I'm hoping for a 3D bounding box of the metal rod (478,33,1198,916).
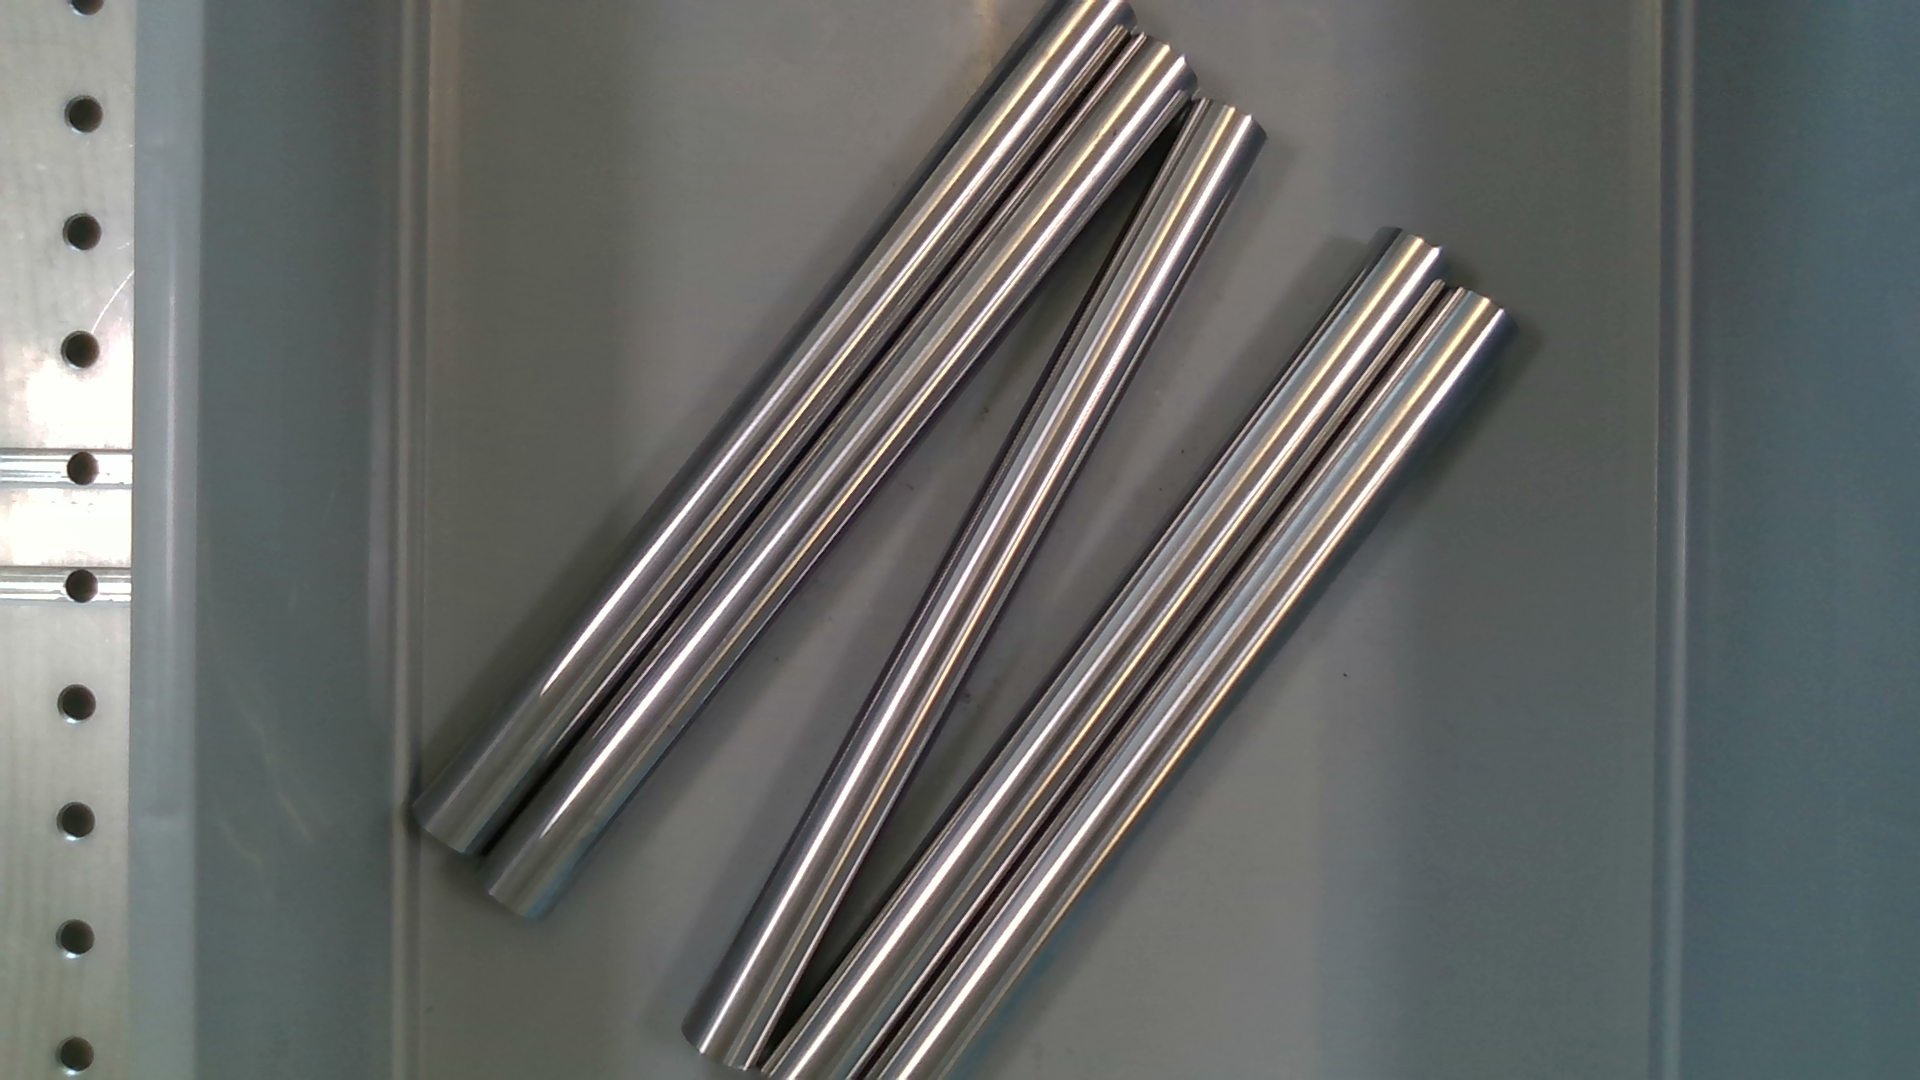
[{"bbox_3d":[-0.035,-0.018,0.395,0.025,0.025,0.300,38,90,0],"label":"metal rod"}]

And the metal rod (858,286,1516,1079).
[{"bbox_3d":[0.059,0.055,0.395,0.025,0.025,0.300,37,90,0],"label":"metal rod"}]

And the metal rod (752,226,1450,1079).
[{"bbox_3d":[0.040,0.038,0.395,0.025,0.025,0.300,37,90,0],"label":"metal rod"}]

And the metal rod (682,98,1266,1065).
[{"bbox_3d":[0.004,0.012,0.395,0.025,0.025,0.300,29,90,0],"label":"metal rod"}]

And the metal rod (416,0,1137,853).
[{"bbox_3d":[-0.052,-0.036,0.394,0.025,0.025,0.300,38,90,0],"label":"metal rod"}]
